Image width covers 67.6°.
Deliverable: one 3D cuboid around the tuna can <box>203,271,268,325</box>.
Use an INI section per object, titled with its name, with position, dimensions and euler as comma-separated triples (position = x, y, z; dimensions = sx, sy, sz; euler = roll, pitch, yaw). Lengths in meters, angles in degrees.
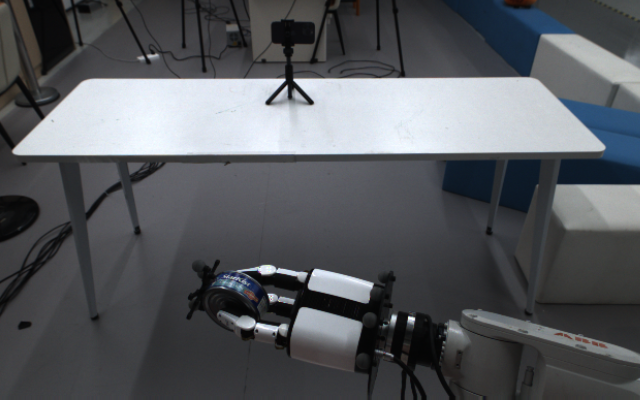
[tuna can]
position = -0.109, 0.142, 0.645
dimensions = 0.085, 0.085, 0.034
euler = 11, 35, 13
